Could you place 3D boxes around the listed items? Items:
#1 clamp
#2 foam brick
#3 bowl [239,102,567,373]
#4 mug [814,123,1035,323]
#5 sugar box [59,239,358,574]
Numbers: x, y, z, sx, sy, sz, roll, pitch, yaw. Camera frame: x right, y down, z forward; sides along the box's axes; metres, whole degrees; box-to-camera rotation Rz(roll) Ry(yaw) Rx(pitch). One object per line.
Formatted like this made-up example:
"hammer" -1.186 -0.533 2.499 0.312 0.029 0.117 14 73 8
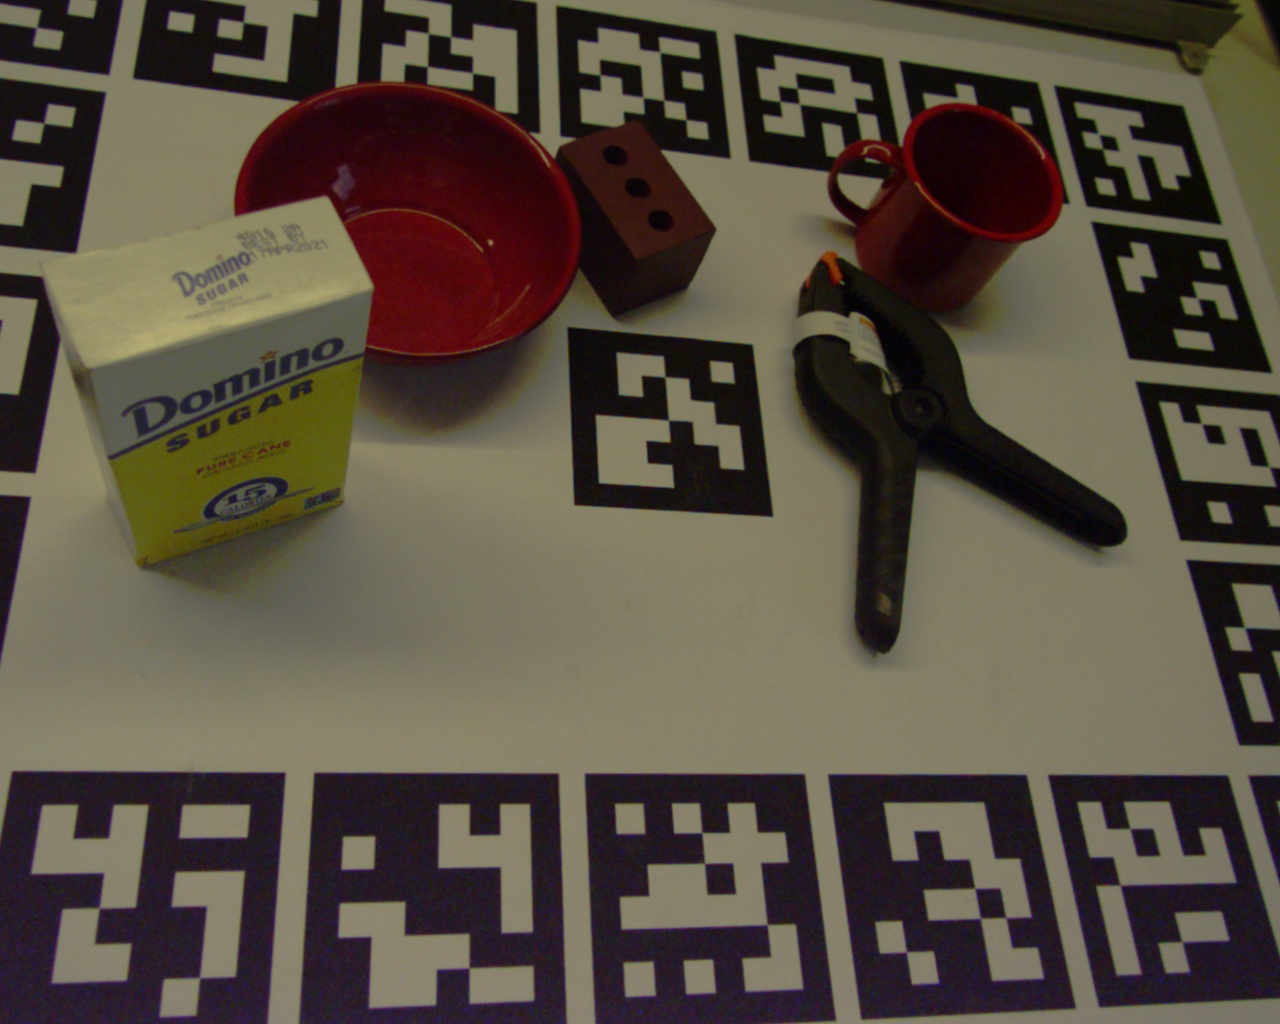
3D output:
"clamp" 0.126 -0.045 0.621 0.164 0.037 0.204 -20 74 -20
"foam brick" -0.013 -0.146 0.633 0.052 0.051 0.078 -24 76 -23
"bowl" -0.122 -0.130 0.587 0.160 0.055 0.162 6 65 -14
"mug" 0.155 -0.169 0.663 0.117 0.082 0.093 28 62 -6
"sugar box" -0.170 -0.035 0.464 0.092 0.177 0.045 -22 77 -25
